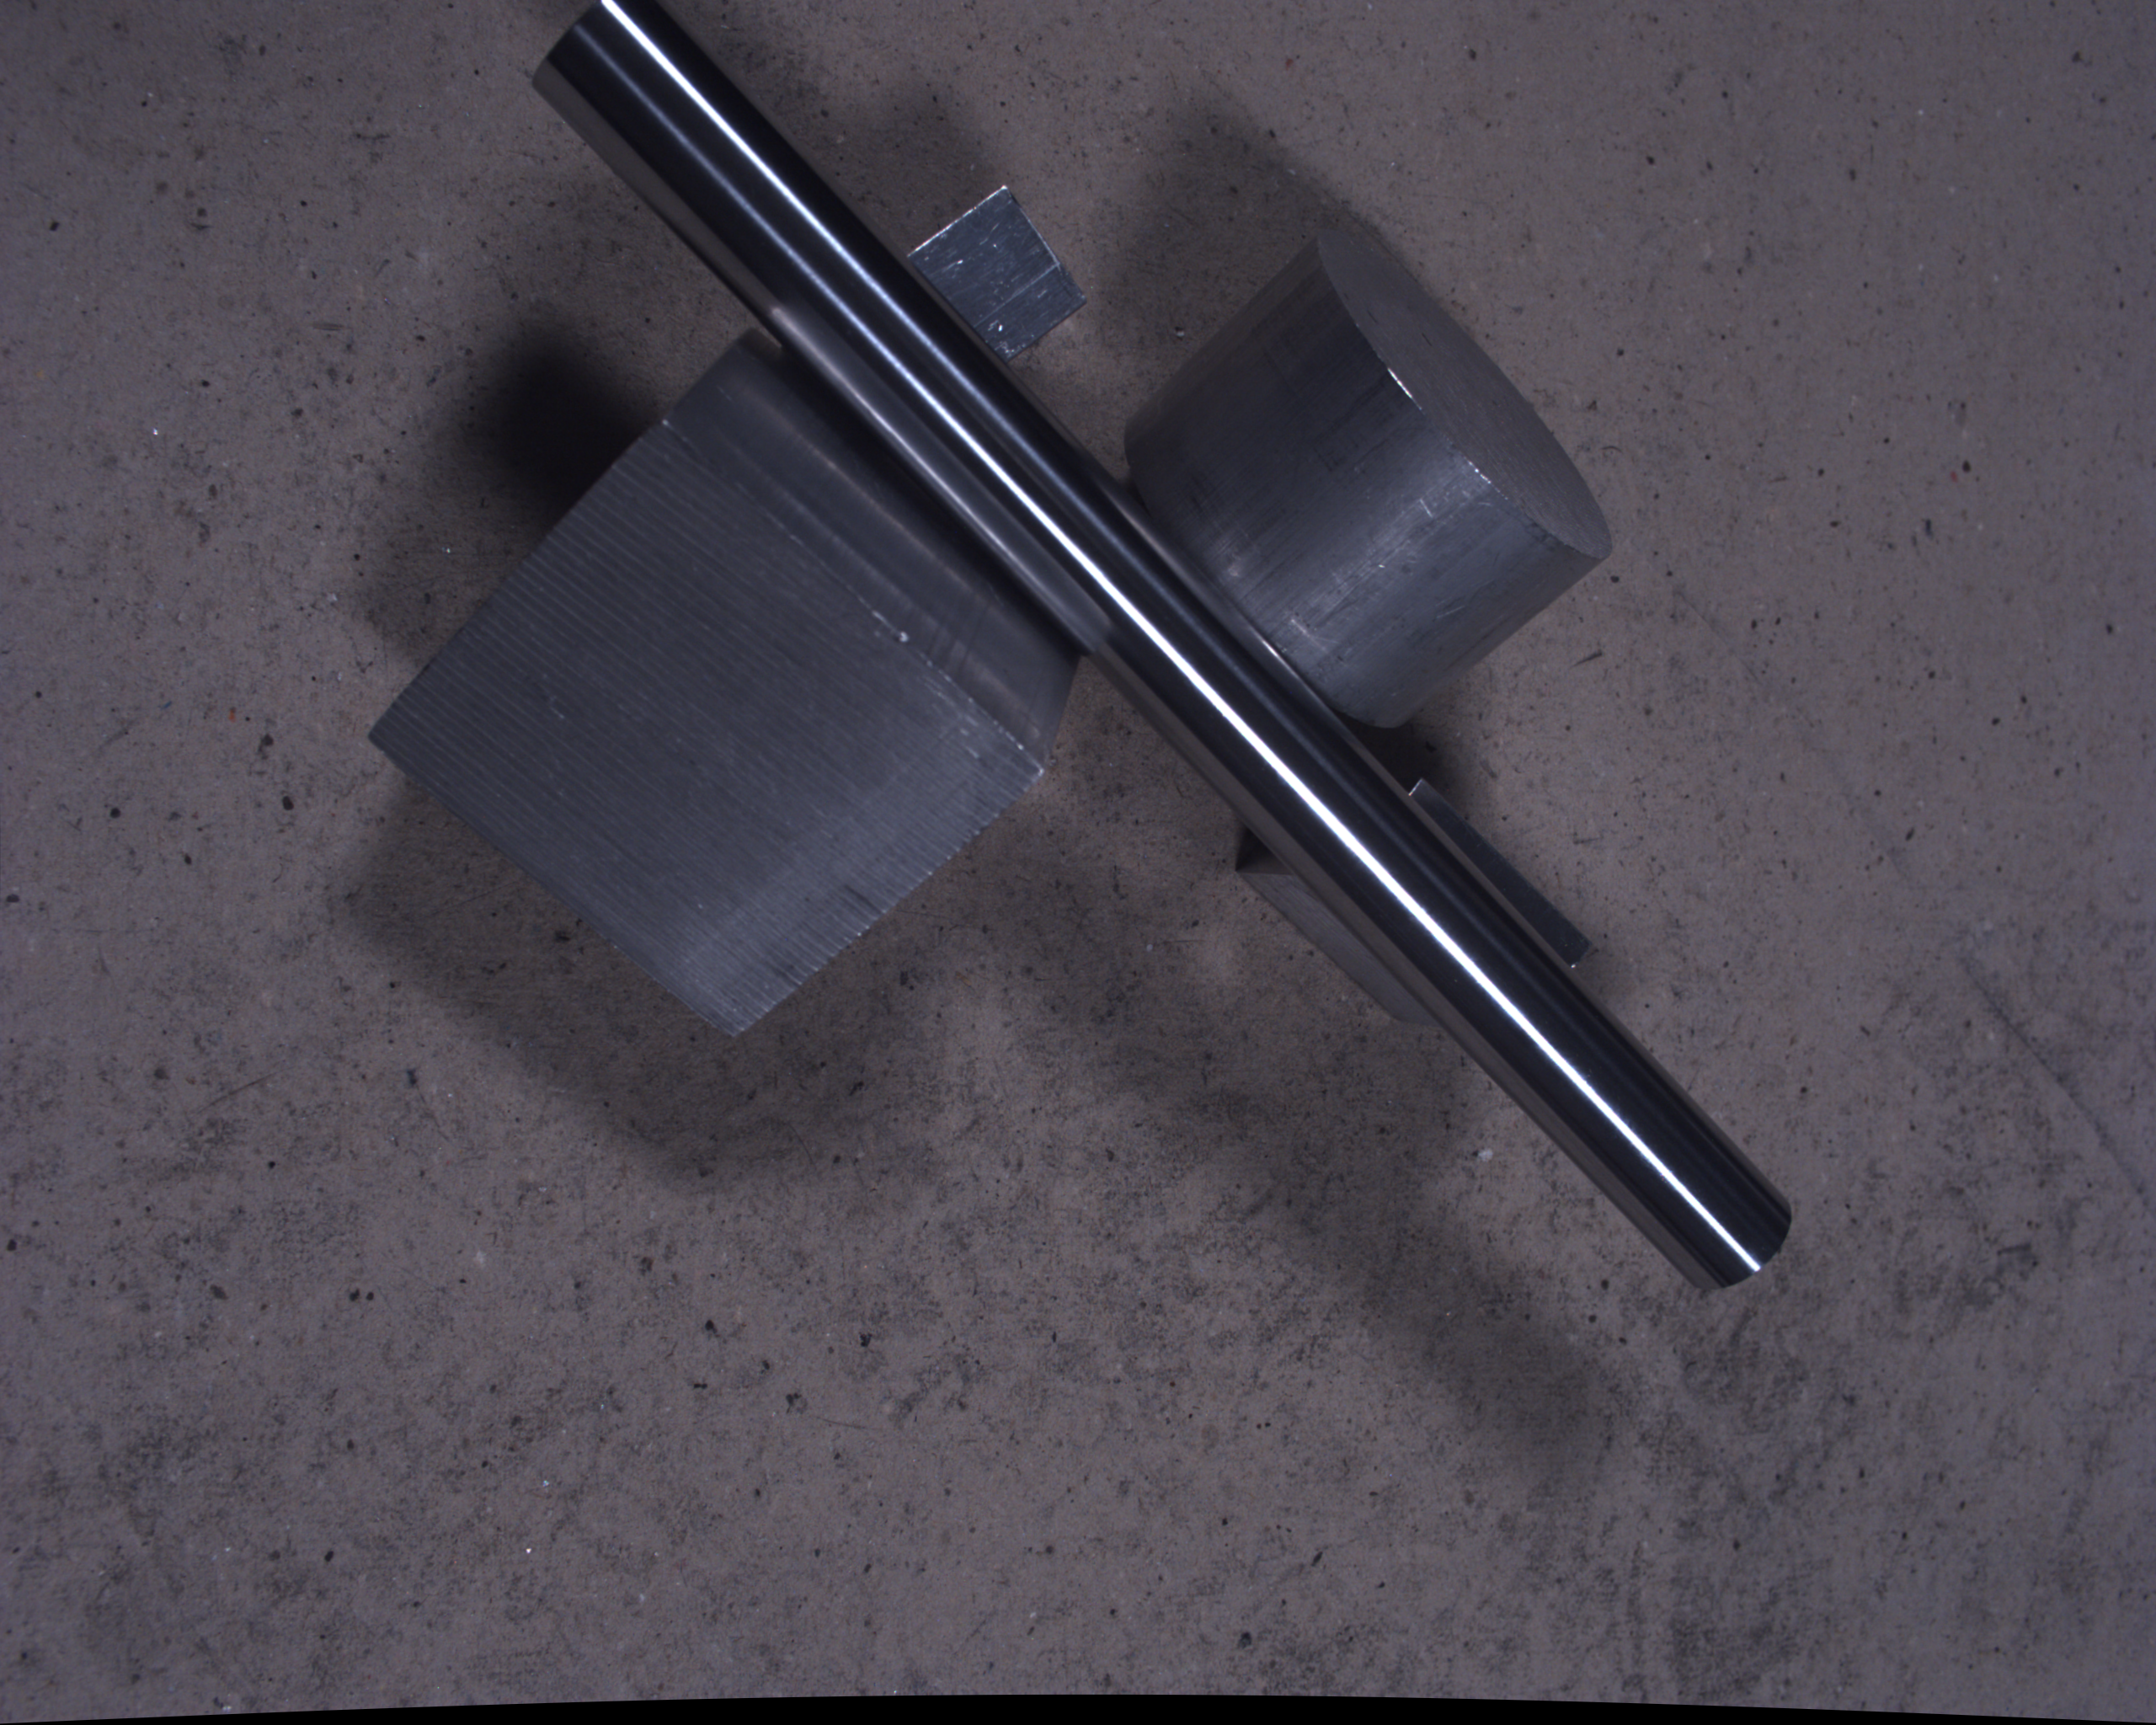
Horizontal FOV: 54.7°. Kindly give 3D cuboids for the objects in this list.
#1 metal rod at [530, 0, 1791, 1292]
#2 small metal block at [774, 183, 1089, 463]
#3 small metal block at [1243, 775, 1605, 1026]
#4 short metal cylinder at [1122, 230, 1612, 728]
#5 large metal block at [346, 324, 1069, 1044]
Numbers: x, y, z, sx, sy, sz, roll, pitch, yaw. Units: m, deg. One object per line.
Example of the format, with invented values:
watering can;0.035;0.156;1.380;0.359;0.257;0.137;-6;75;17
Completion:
metal rod;0.025;-0.029;0.367;0.300;0.025;0.025;45;76;-15
small metal block;-0.033;-0.094;0.386;0.050;0.050;0.025;-40;103;-16
small metal block;0.069;0.009;0.420;0.050;0.050;0.025;43;77;-16
short metal cylinder;0.055;-0.072;0.396;0.080;0.080;0.050;41;118;-16
large metal block;-0.060;-0.029;0.357;0.080;0.050;0.080;43;117;-16
